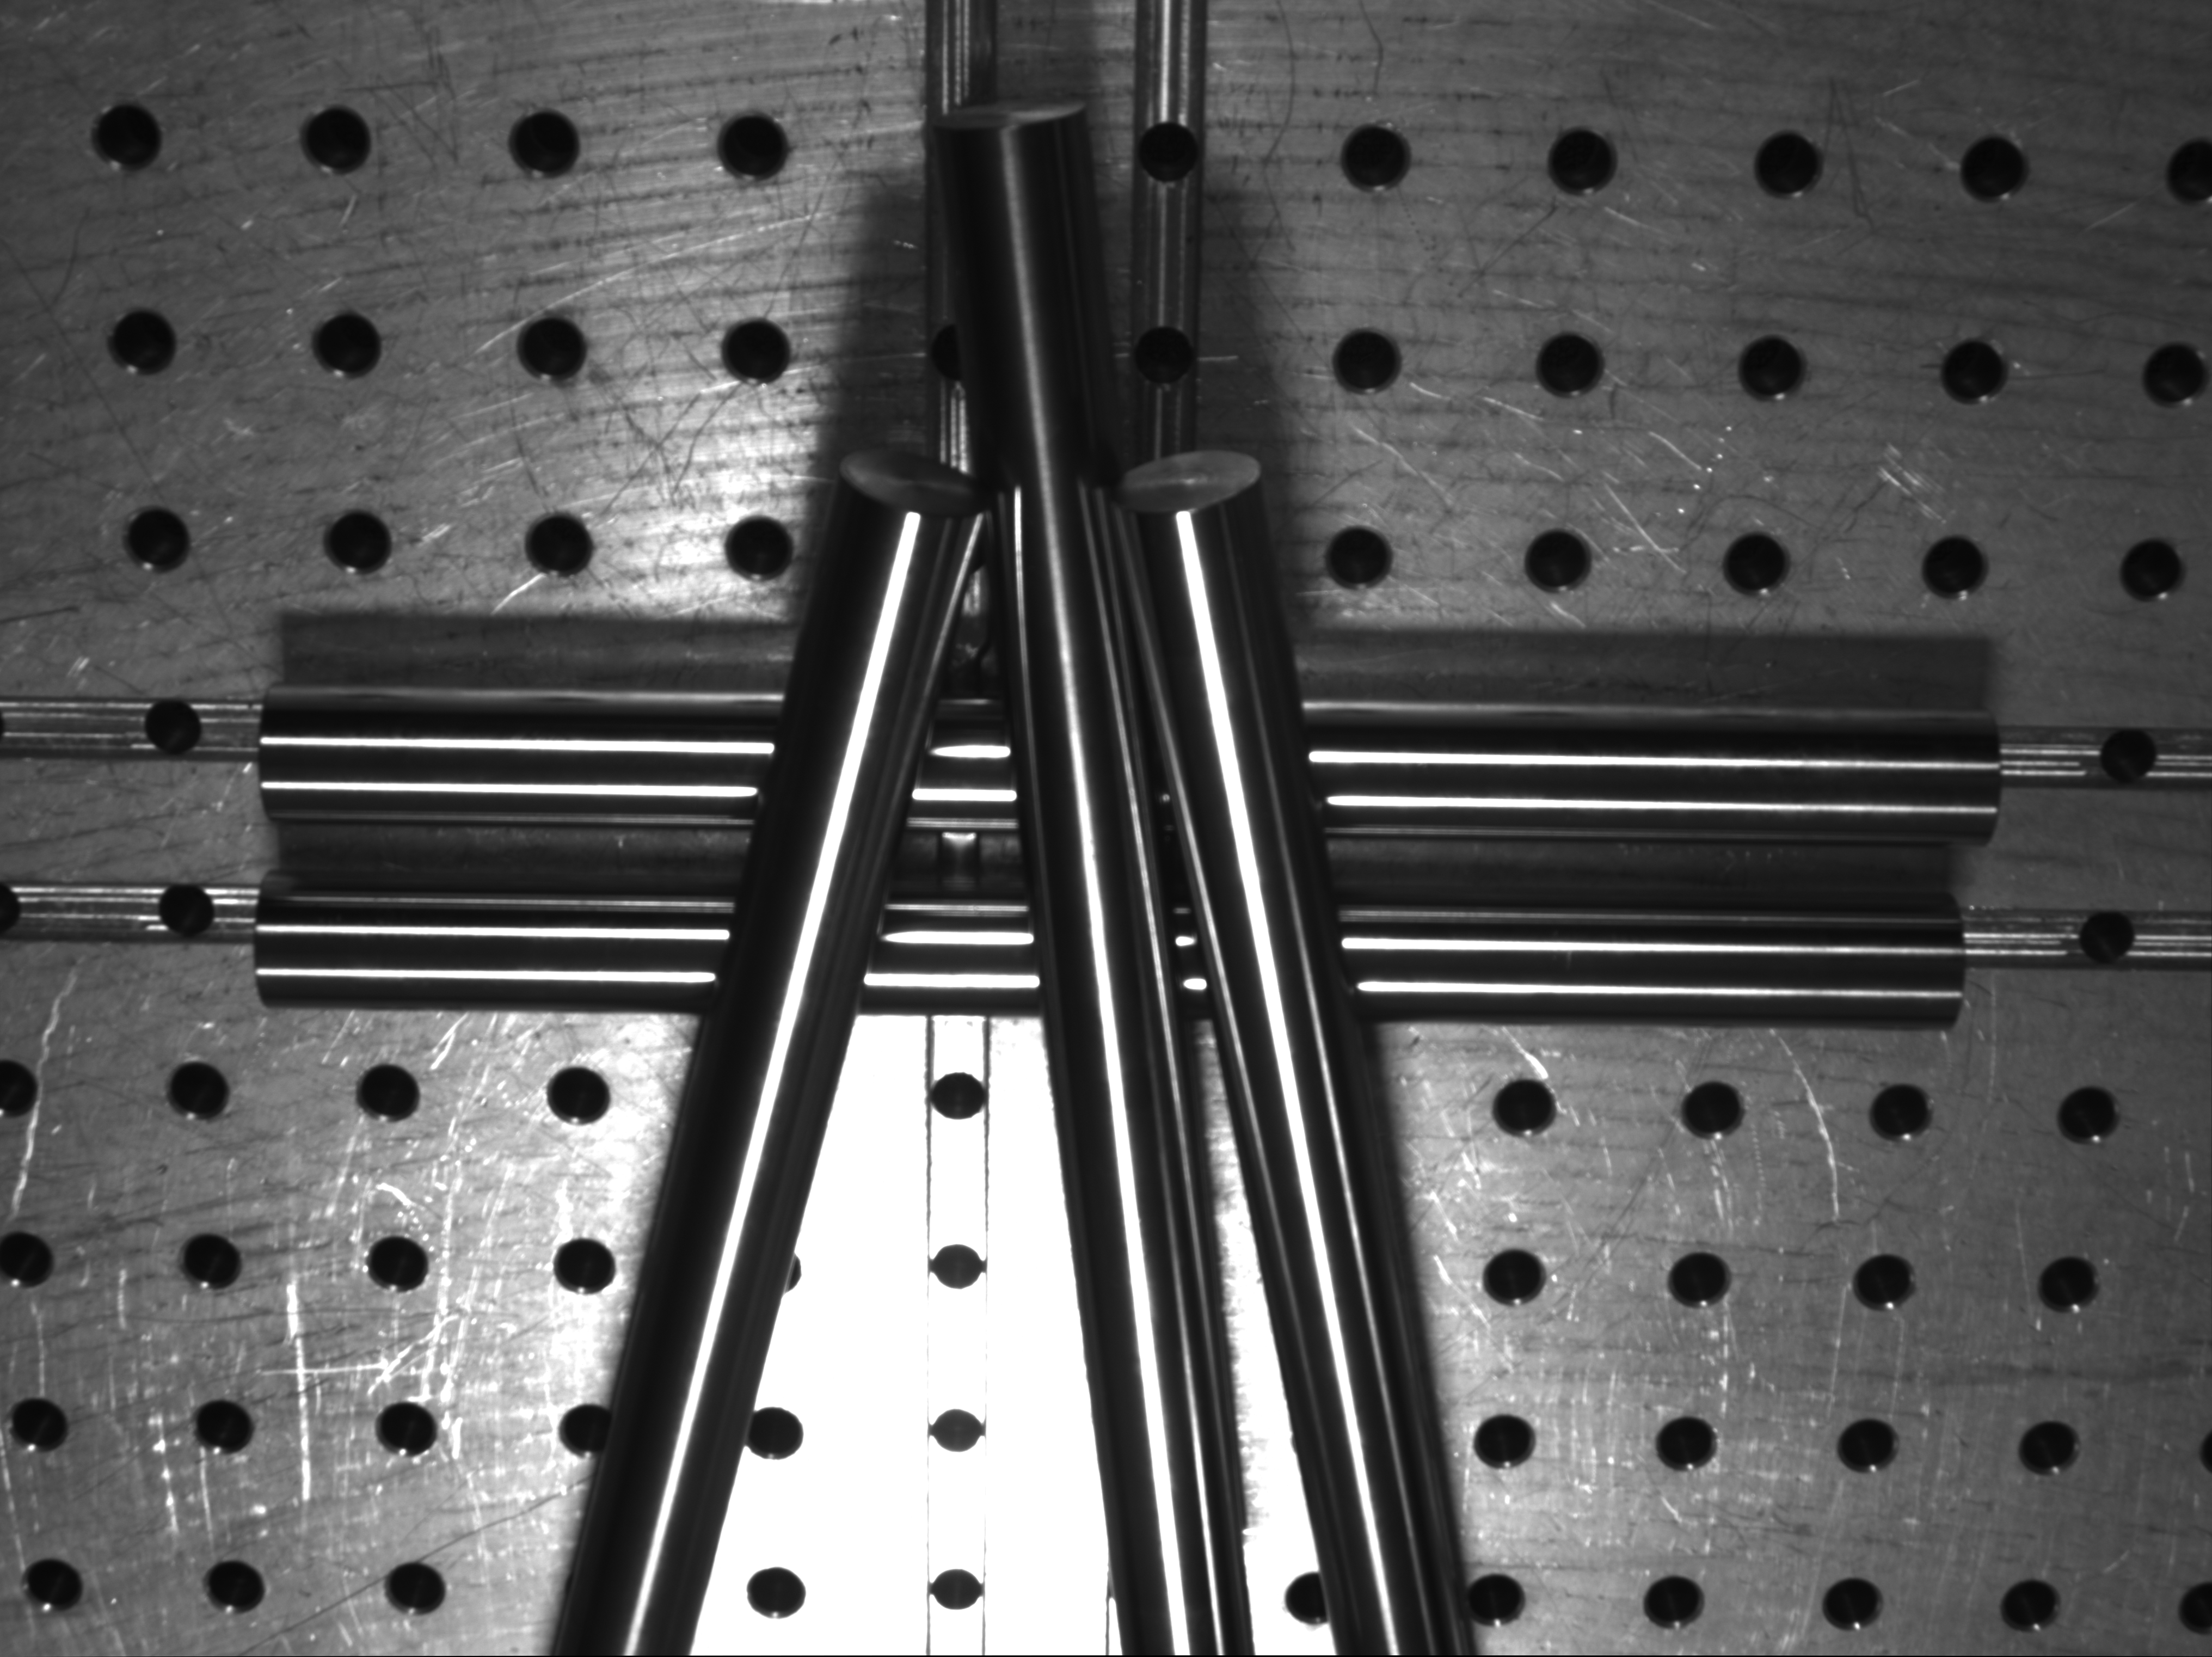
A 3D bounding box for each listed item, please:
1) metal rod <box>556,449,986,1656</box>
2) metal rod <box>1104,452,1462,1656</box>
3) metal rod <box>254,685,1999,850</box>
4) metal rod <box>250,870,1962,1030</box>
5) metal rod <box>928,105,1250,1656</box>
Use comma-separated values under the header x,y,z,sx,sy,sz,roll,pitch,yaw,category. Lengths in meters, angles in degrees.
x,y,z,sx,sy,sz,roll,pitch,yaw,category
-0.068,0.074,0.652,0.025,0.025,0.300,13,116,-5,metal rod
0.039,0.076,0.654,0.025,0.025,0.300,-10,117,3,metal rod
0.004,-0.011,0.642,0.300,0.025,0.025,1,110,-1,metal rod
0.000,0.022,0.654,0.300,0.025,0.025,1,110,-1,metal rod
0.000,0.028,0.629,0.025,0.025,0.300,-6,110,2,metal rod
